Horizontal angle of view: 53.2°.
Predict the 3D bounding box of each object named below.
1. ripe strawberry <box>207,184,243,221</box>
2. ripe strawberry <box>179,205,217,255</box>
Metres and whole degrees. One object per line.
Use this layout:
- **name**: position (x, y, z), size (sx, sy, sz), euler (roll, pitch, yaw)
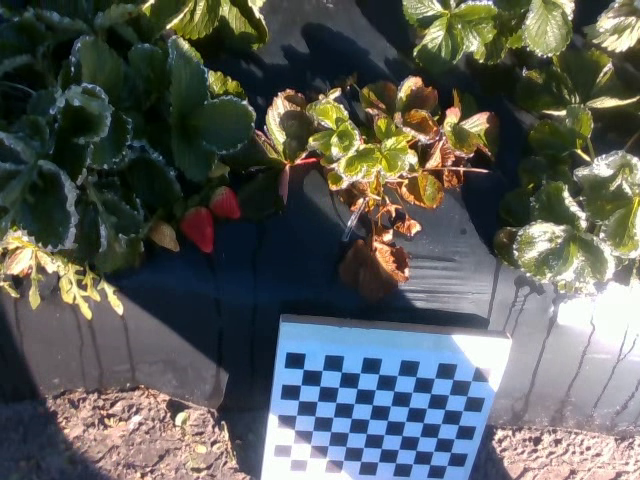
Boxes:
- **ripe strawberry**: position (-0.097, -0.037, 0.661), size (0.041, 0.036, 0.030), euler (33, 19, -13)
- **ripe strawberry**: position (-0.122, -0.006, 0.654), size (0.036, 0.052, 0.039), euler (-30, -13, 9)
